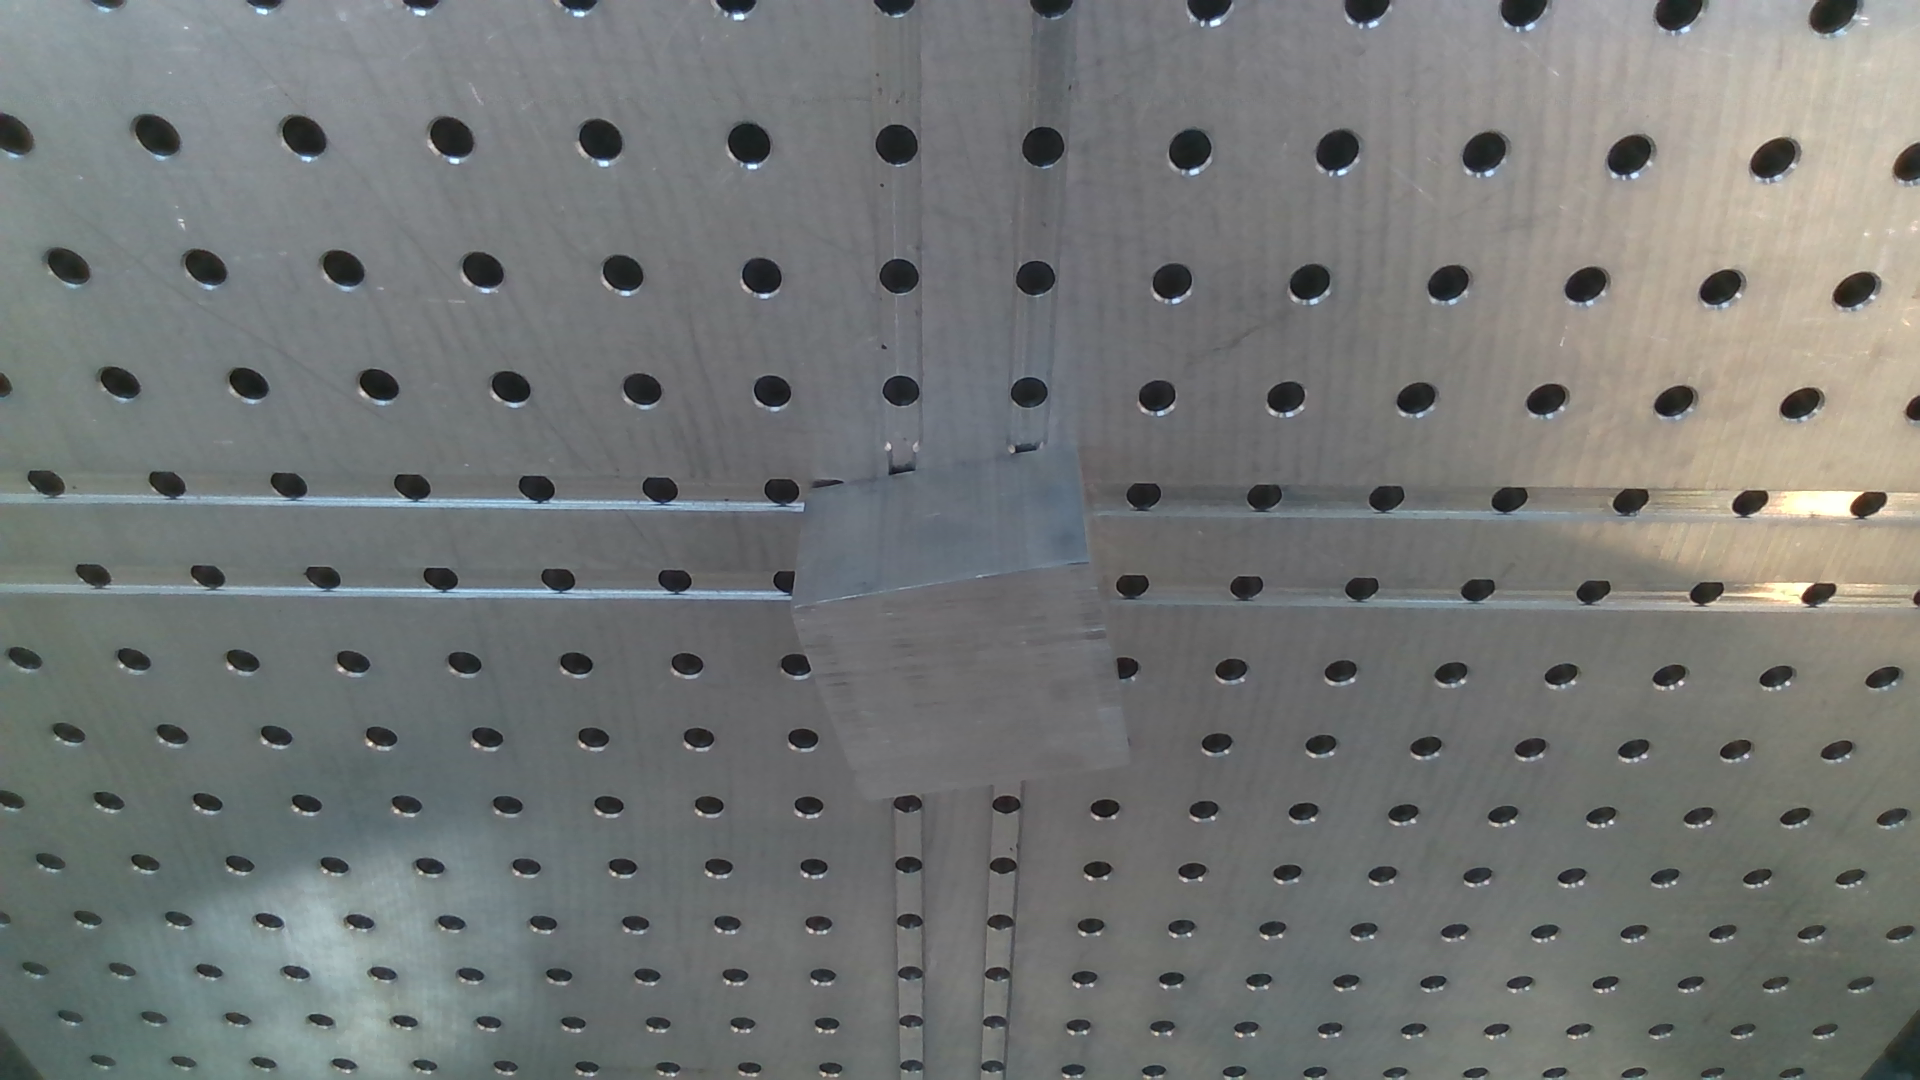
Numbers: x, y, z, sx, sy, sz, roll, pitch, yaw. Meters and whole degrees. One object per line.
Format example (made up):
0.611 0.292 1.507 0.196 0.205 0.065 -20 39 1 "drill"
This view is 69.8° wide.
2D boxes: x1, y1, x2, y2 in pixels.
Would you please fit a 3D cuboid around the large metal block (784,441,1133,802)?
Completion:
0.002 0.025 0.394 0.080 0.050 0.080 -9 129 8 "large metal block"
